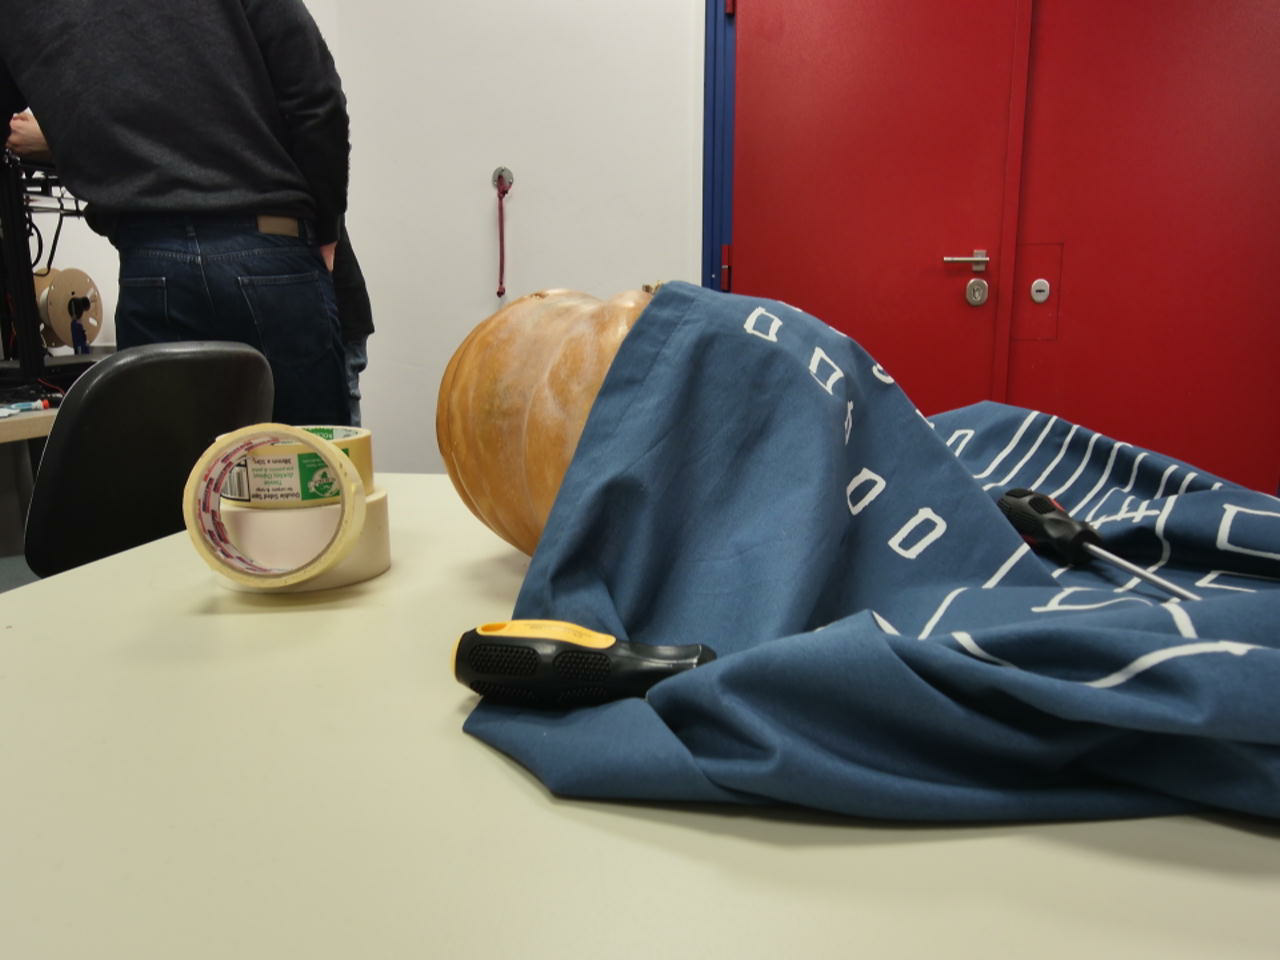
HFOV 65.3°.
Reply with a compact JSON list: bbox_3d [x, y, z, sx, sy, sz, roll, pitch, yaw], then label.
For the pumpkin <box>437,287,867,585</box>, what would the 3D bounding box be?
[{"bbox_3d":[0.006,-0.034,0.636,0.277,0.181,0.277,0,8,0],"label":"pumpkin"}]
